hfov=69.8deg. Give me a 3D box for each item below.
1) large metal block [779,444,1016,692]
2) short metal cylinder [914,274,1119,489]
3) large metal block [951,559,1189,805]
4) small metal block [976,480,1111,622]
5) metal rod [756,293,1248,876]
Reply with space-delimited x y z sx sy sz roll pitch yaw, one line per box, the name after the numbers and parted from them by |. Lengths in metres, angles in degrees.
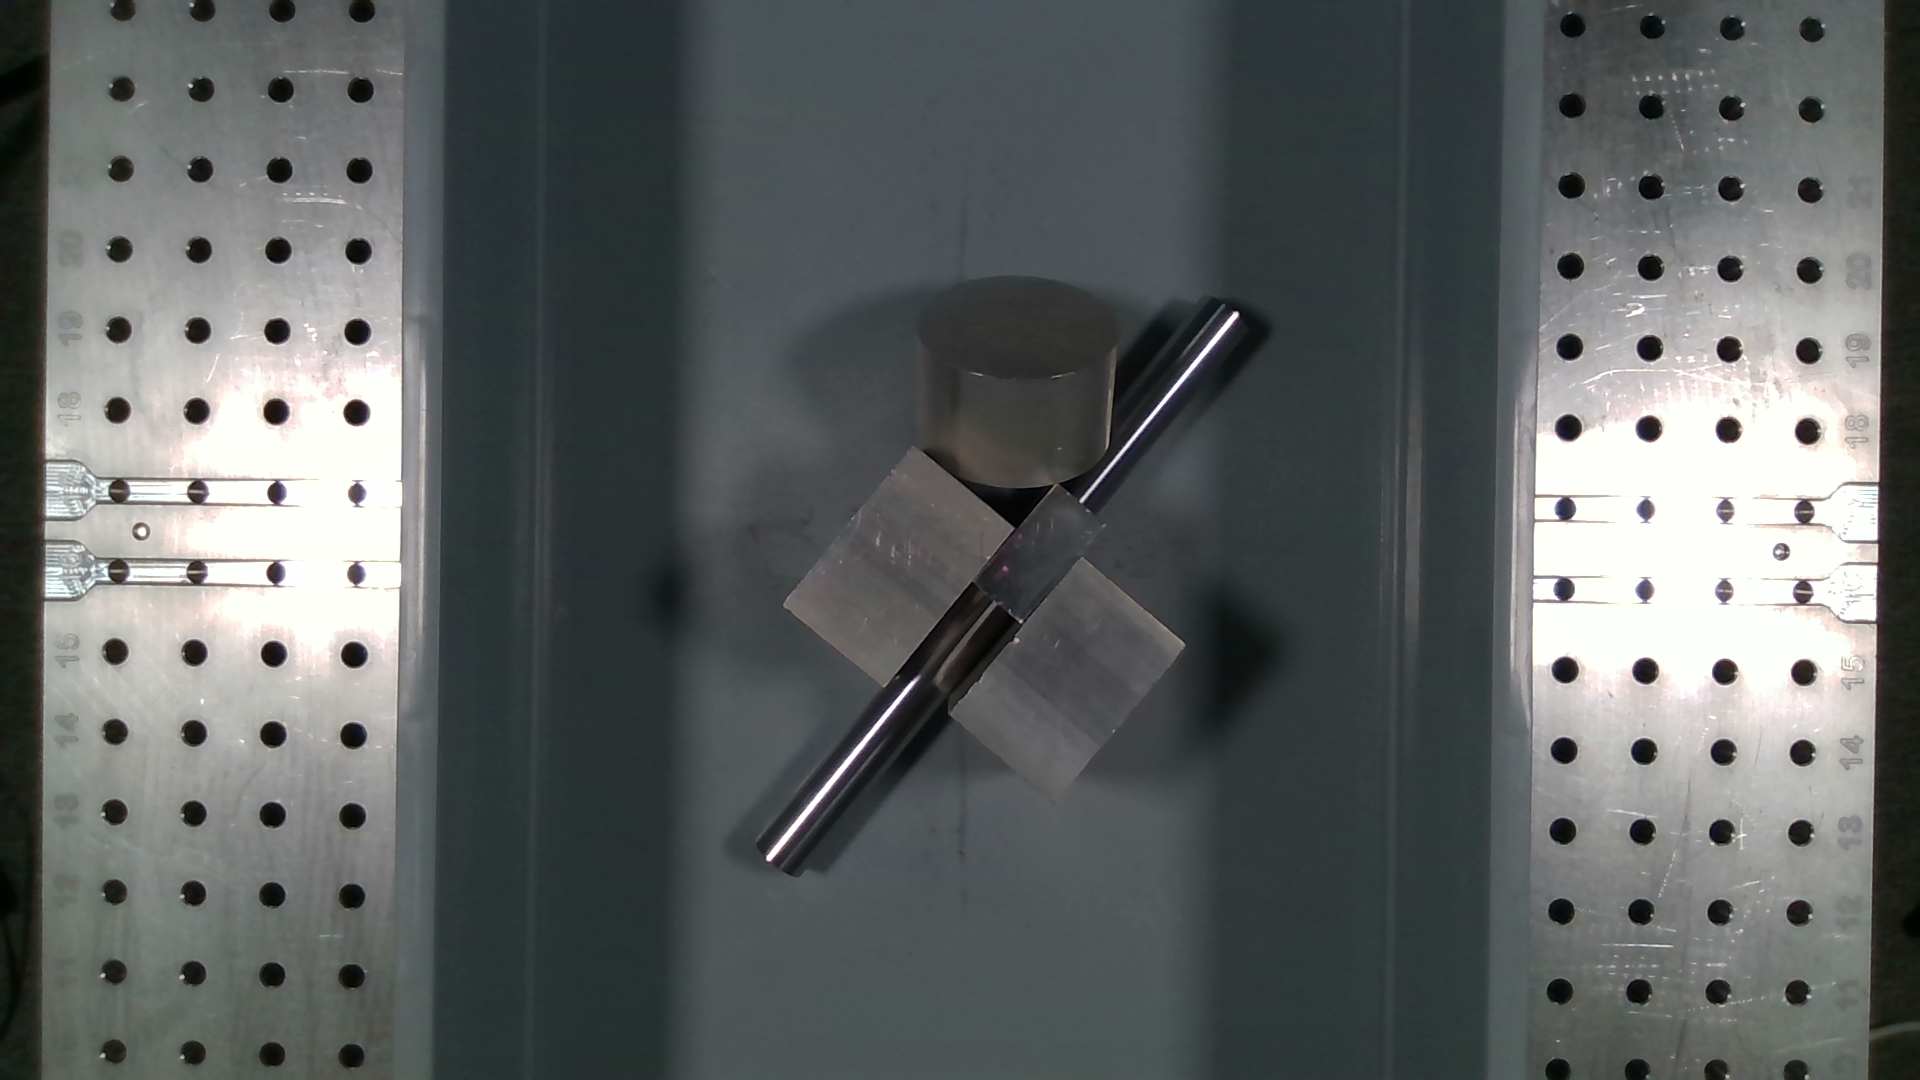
-0.024 0.010 0.559 0.050 0.080 0.080 39 90 0 | large metal block
0.022 -0.065 0.552 0.080 0.080 0.050 1 130 0 | short metal cylinder
0.042 0.054 0.560 0.050 0.080 0.080 40 90 0 | large metal block
0.032 0.004 0.551 0.025 0.050 0.050 41 90 0 | small metal block
0.018 0.019 0.587 0.025 0.025 0.300 39 90 0 | metal rod
